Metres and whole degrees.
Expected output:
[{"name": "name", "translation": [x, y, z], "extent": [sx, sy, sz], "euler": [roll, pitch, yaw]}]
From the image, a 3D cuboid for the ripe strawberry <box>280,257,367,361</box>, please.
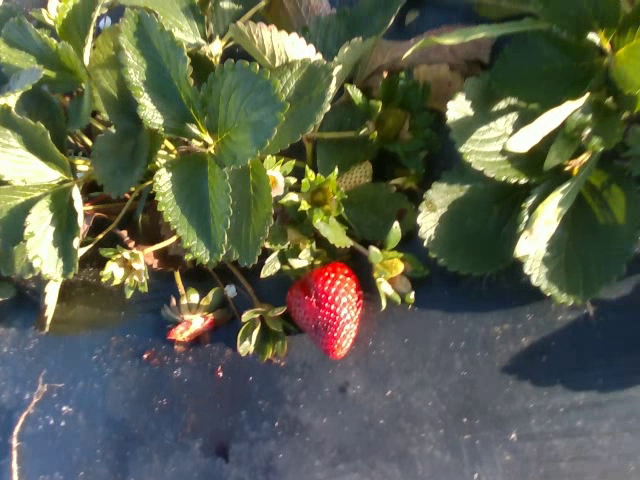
[{"name": "ripe strawberry", "translation": [0.004, 0.043, 0.331], "extent": [0.052, 0.052, 0.041], "euler": [-33, -44, 26]}]
